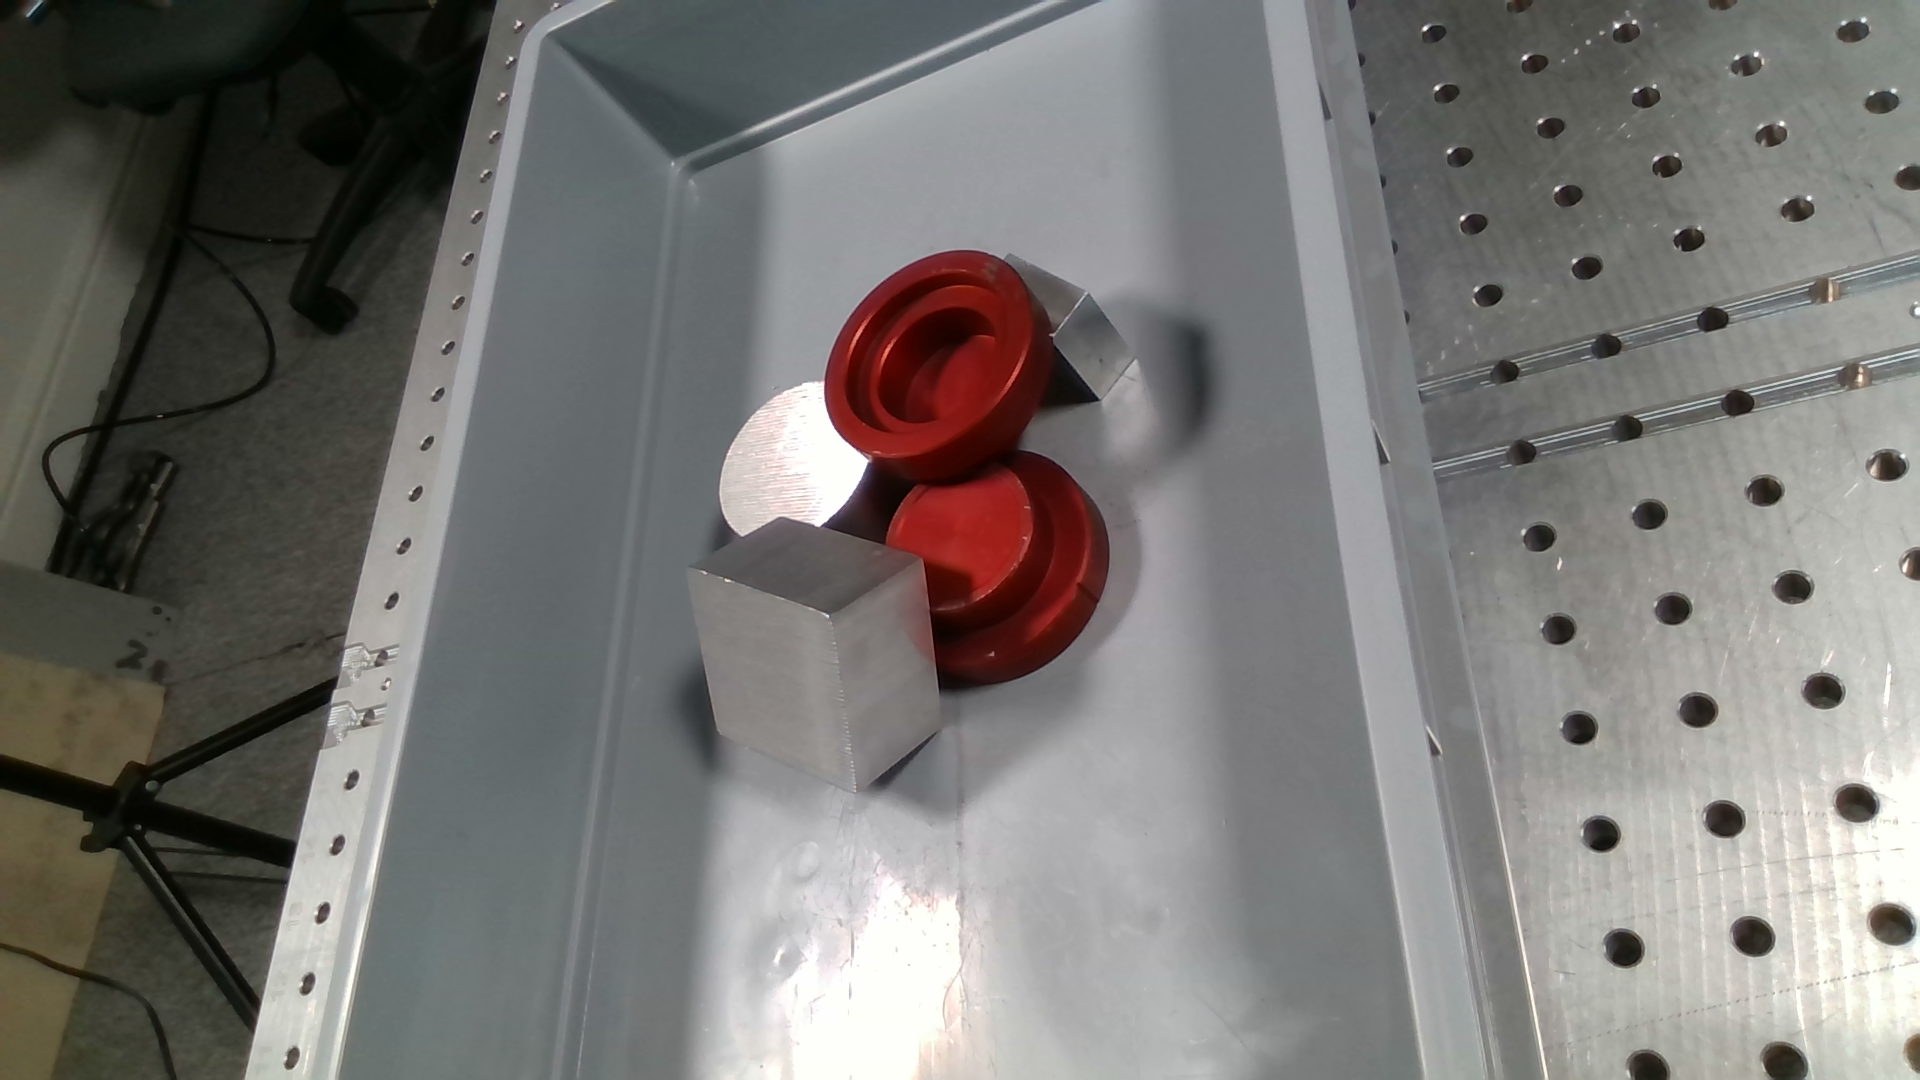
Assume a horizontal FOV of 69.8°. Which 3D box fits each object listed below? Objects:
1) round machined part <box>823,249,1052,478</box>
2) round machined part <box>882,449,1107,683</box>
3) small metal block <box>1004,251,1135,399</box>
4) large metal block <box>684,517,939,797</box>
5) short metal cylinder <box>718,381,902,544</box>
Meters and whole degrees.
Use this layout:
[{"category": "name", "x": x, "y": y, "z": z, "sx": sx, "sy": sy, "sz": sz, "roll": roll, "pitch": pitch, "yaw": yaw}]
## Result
[{"category": "round machined part", "x": -0.005, "y": -0.069, "z": 0.575, "sx": 0.098, "sy": 0.042, "sz": 0.098, "roll": -14, "pitch": 59, "yaw": 25}, {"category": "round machined part", "x": 0.007, "y": 0.005, "z": 0.563, "sx": 0.098, "sy": 0.042, "sz": 0.098, "roll": -14, "pitch": 59, "yaw": 25}, {"category": "small metal block", "x": 0.040, "y": -0.092, "z": 0.591, "sx": 0.050, "sy": 0.050, "sz": 0.025, "roll": 35, "pitch": 86, "yaw": 40}, {"category": "large metal block", "x": -0.058, "y": 0.045, "z": 0.552, "sx": 0.080, "sy": 0.080, "sz": 0.050, "roll": 16, "pitch": 34, "yaw": 36}, {"category": "short metal cylinder", "x": -0.061, "y": -0.024, "z": 0.618, "sx": 0.080, "sy": 0.050, "sz": 0.080, "roll": -14, "pitch": 59, "yaw": 25}]
